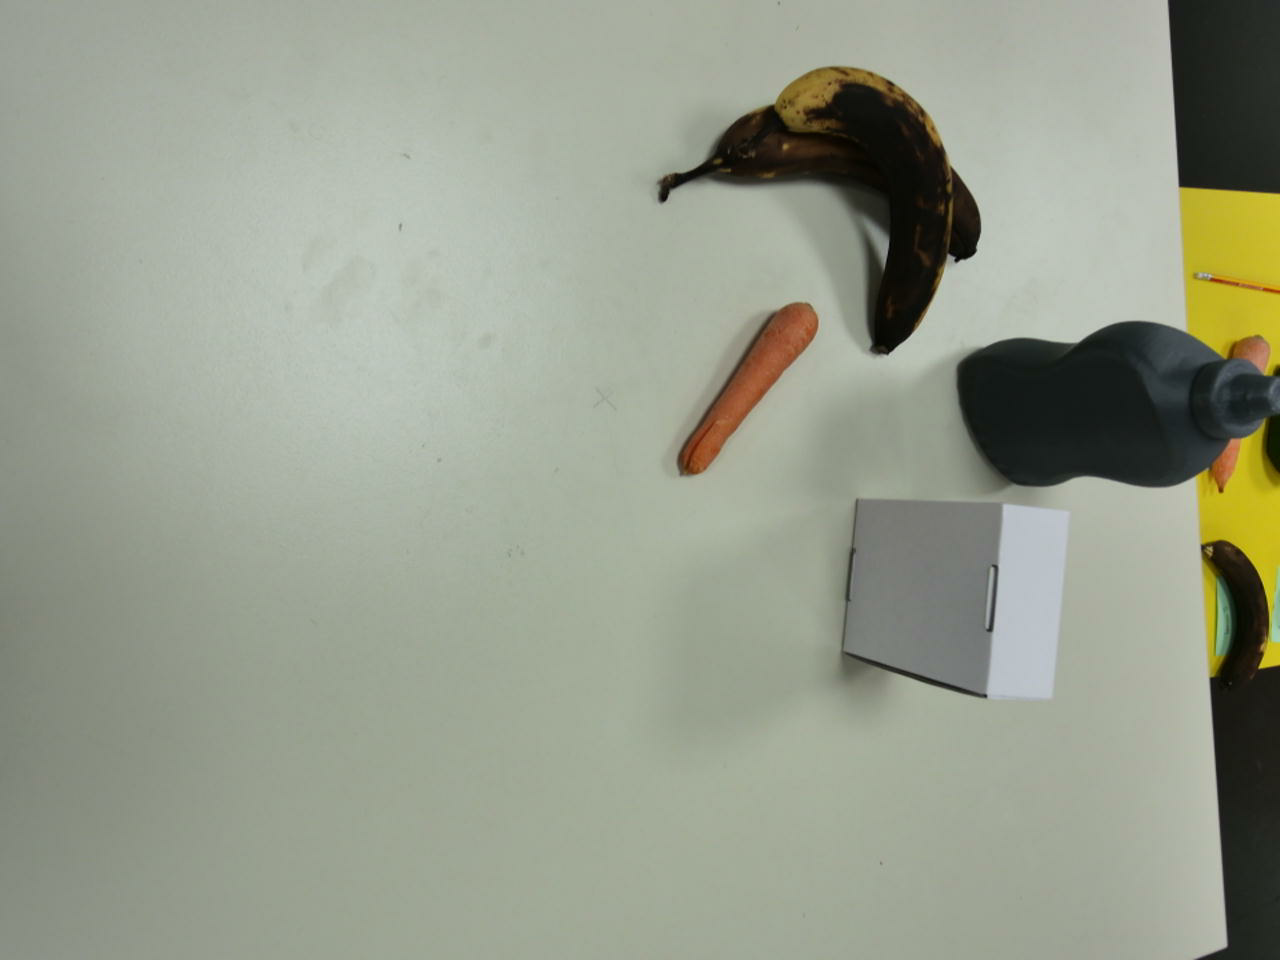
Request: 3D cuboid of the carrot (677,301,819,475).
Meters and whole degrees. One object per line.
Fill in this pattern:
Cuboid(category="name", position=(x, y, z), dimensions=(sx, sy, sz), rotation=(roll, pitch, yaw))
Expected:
Cuboid(category="carrot", position=(0.066, -0.058, 0.613), dimensions=(0.030, 0.032, 0.136), rotation=(41, 75, -18))
